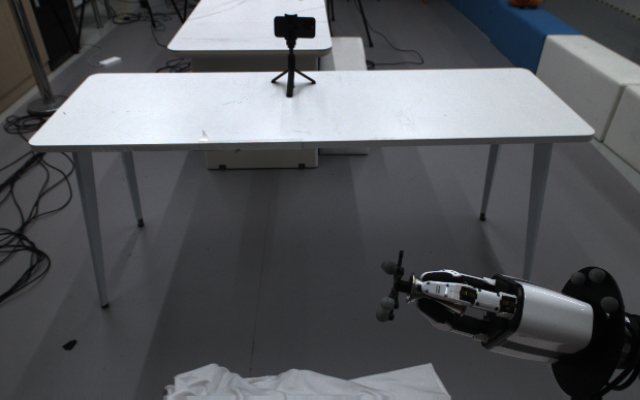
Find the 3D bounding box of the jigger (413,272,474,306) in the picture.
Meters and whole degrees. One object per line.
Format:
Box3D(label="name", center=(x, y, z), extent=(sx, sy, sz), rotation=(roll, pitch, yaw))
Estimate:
Box3D(label="jigger", center=(0.152, 0.112, 0.603), extent=(0.071, 0.043, 0.043), rotation=(11, 35, 3))
